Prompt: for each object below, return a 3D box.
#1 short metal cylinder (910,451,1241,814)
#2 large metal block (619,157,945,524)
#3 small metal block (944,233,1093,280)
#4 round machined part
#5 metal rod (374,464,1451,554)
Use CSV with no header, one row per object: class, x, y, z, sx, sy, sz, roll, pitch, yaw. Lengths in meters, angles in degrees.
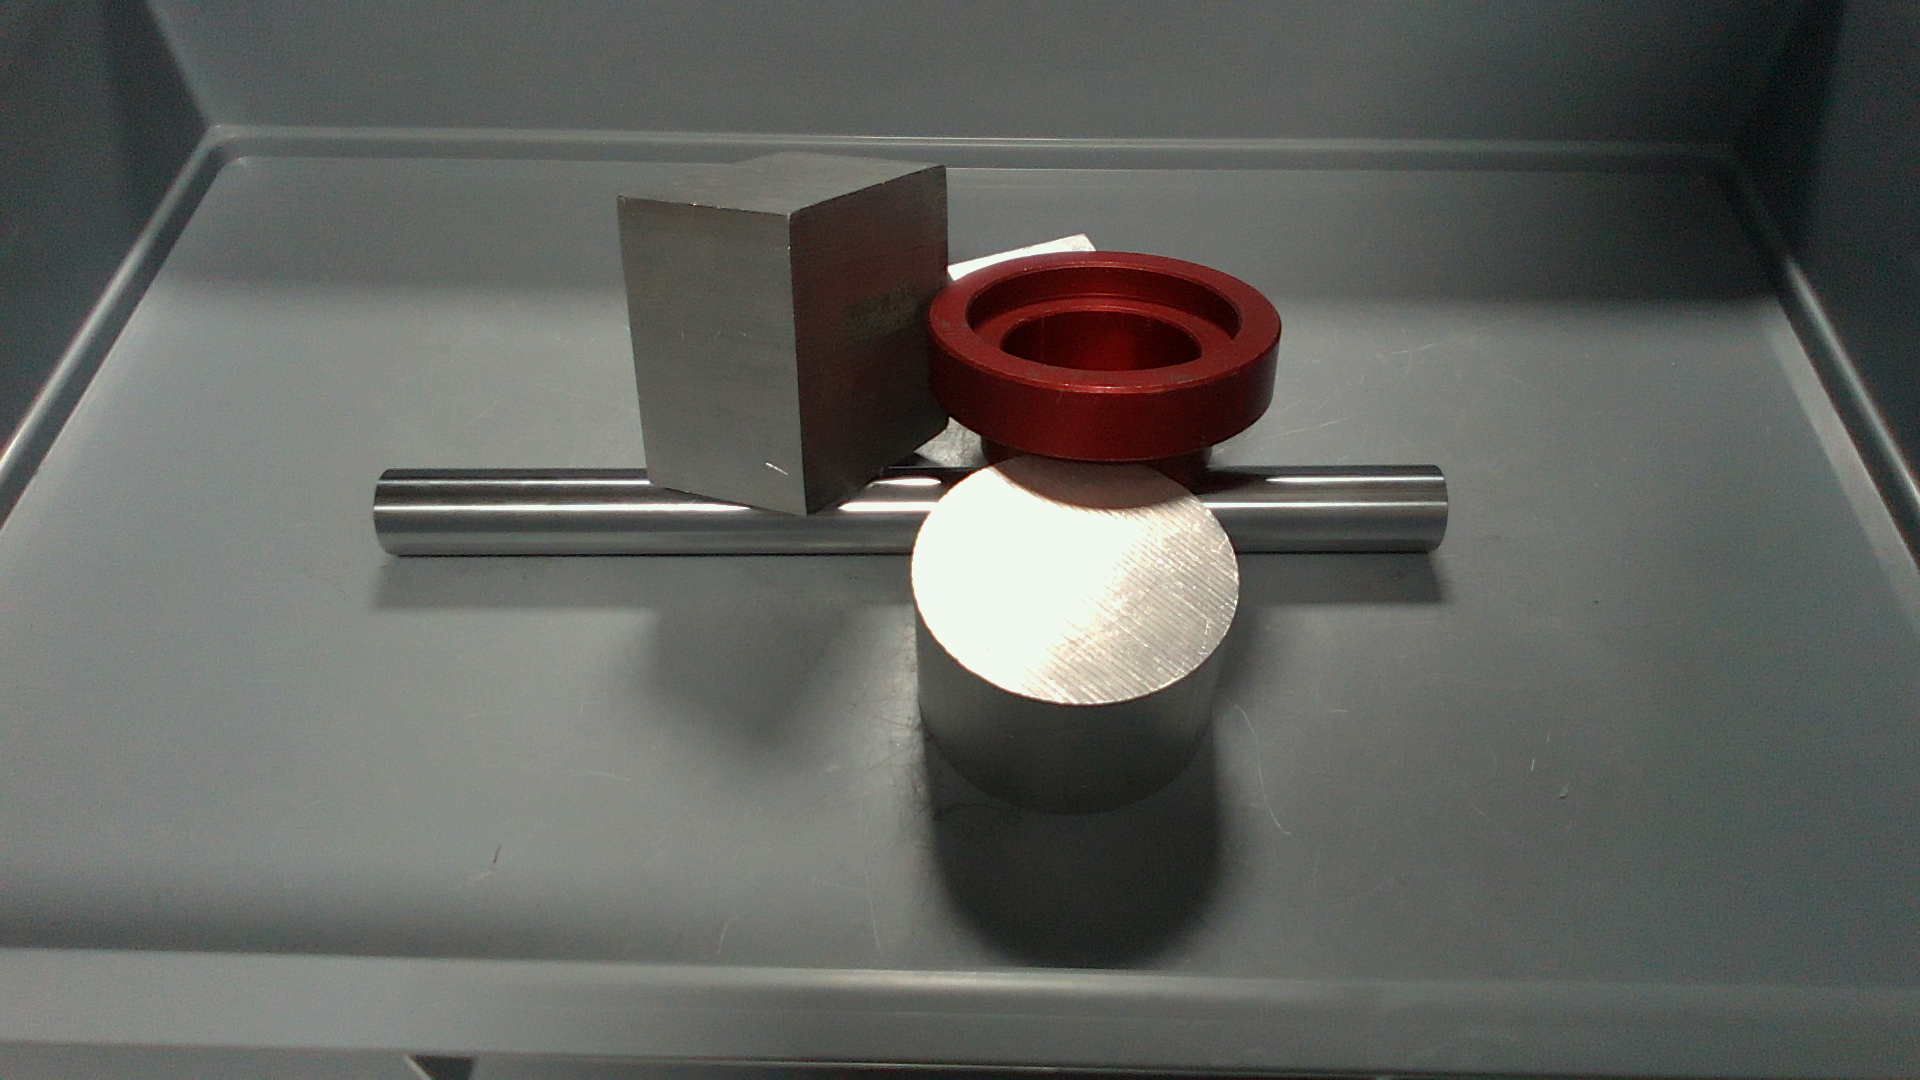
short metal cylinder,0.028,0.022,0.354,0.080,0.050,0.080,0,50,0
large metal block,-0.045,-0.060,0.386,0.050,0.080,0.080,12,27,24
small metal block,0.027,-0.070,0.450,0.050,0.025,0.050,-16,52,-13
round machined part,0.040,-0.046,0.393,0.098,0.042,0.098,0,32,0
metal rod,-0.013,-0.009,0.396,0.300,0.025,0.025,0,50,0
